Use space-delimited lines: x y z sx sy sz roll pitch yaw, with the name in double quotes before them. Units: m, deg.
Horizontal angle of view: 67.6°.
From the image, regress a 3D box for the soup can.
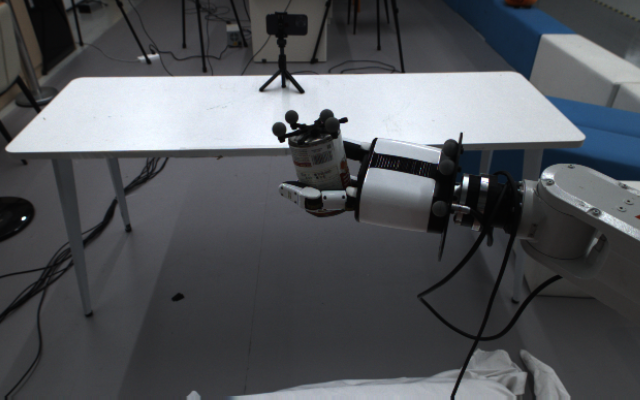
"soup can" 0.005 -0.038 0.612 0.067 0.101 0.067 -11 28 6
